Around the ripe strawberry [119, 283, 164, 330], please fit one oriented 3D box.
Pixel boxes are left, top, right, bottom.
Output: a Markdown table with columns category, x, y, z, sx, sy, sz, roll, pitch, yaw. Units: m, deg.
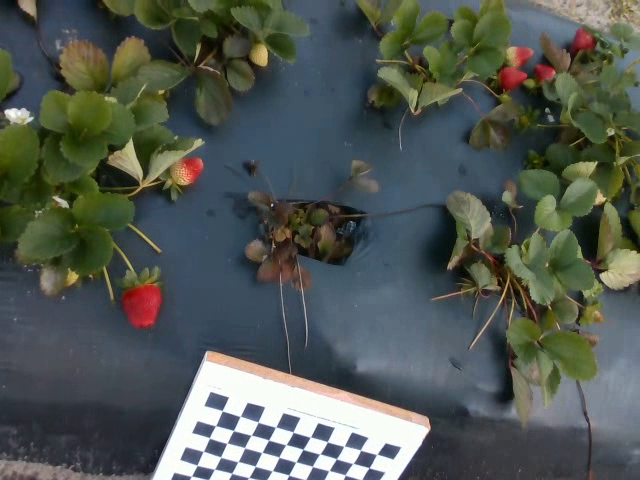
| category | x | y | z | sx | sy | sz | roll | pitch | yaw |
| --- | --- | --- | --- | --- | --- | --- | --- | --- | --- |
| ripe strawberry | -0.191 | 0.073 | 0.645 | 0.045 | 0.055 | 0.042 | -23 | -38 | 13 |
